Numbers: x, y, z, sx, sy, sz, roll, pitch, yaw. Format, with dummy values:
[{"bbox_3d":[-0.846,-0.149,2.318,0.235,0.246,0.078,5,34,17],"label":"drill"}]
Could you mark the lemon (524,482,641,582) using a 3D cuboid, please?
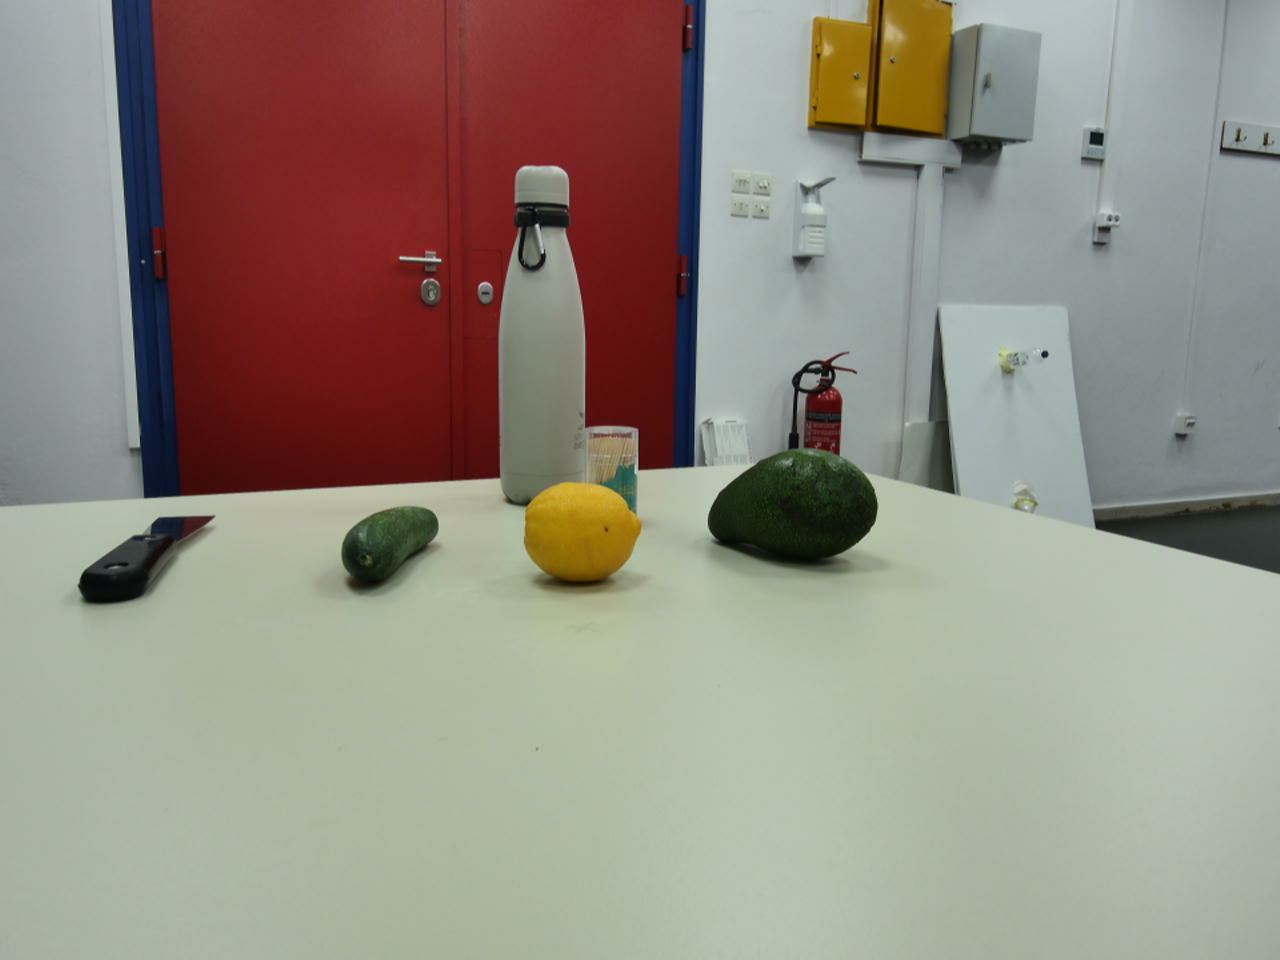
[{"bbox_3d":[-0.036,0.031,0.599,0.067,0.059,0.060,3,8,17],"label":"lemon"}]
